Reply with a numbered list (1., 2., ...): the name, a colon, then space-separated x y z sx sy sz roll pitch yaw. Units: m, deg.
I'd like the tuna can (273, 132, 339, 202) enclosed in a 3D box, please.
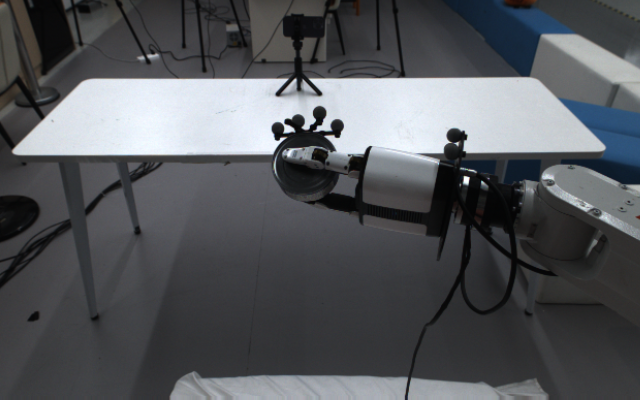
1. tuna can: -0.016 -0.038 0.621 0.085 0.034 0.085 -2 69 6
